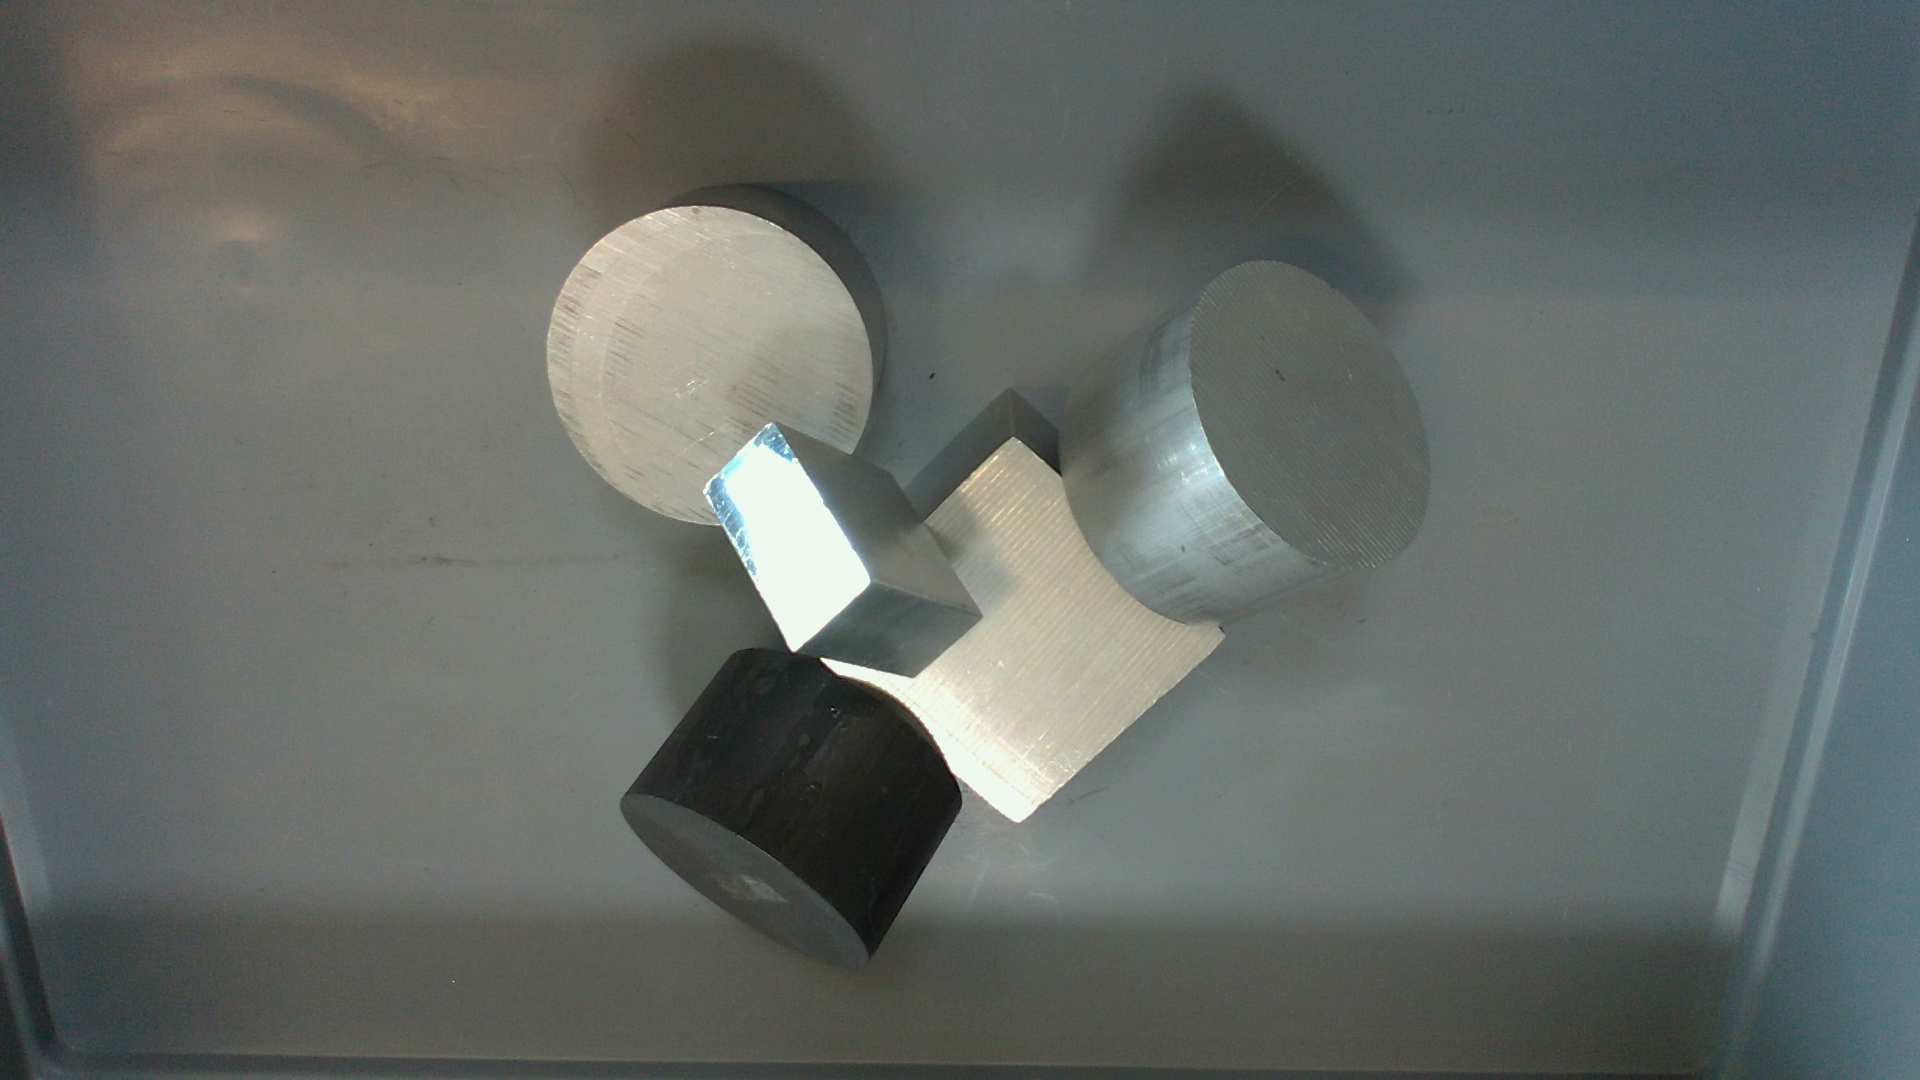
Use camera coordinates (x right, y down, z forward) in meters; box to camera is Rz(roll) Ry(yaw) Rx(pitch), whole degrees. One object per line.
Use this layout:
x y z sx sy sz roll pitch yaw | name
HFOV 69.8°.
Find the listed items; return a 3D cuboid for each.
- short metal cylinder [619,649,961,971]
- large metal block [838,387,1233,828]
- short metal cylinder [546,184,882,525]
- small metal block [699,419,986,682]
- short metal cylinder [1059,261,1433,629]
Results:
-0.047 0.076 0.385 0.080 0.050 0.080 25 150 16 | short metal cylinder
0.015 0.018 0.384 0.080 0.050 0.080 42 105 -14 | large metal block
-0.061 -0.050 0.361 0.080 0.050 0.080 0 110 0 | short metal cylinder
-0.027 0.004 0.328 0.025 0.050 0.050 -42 61 16 | small metal block
0.072 -0.022 0.348 0.080 0.080 0.050 41 144 -14 | short metal cylinder
